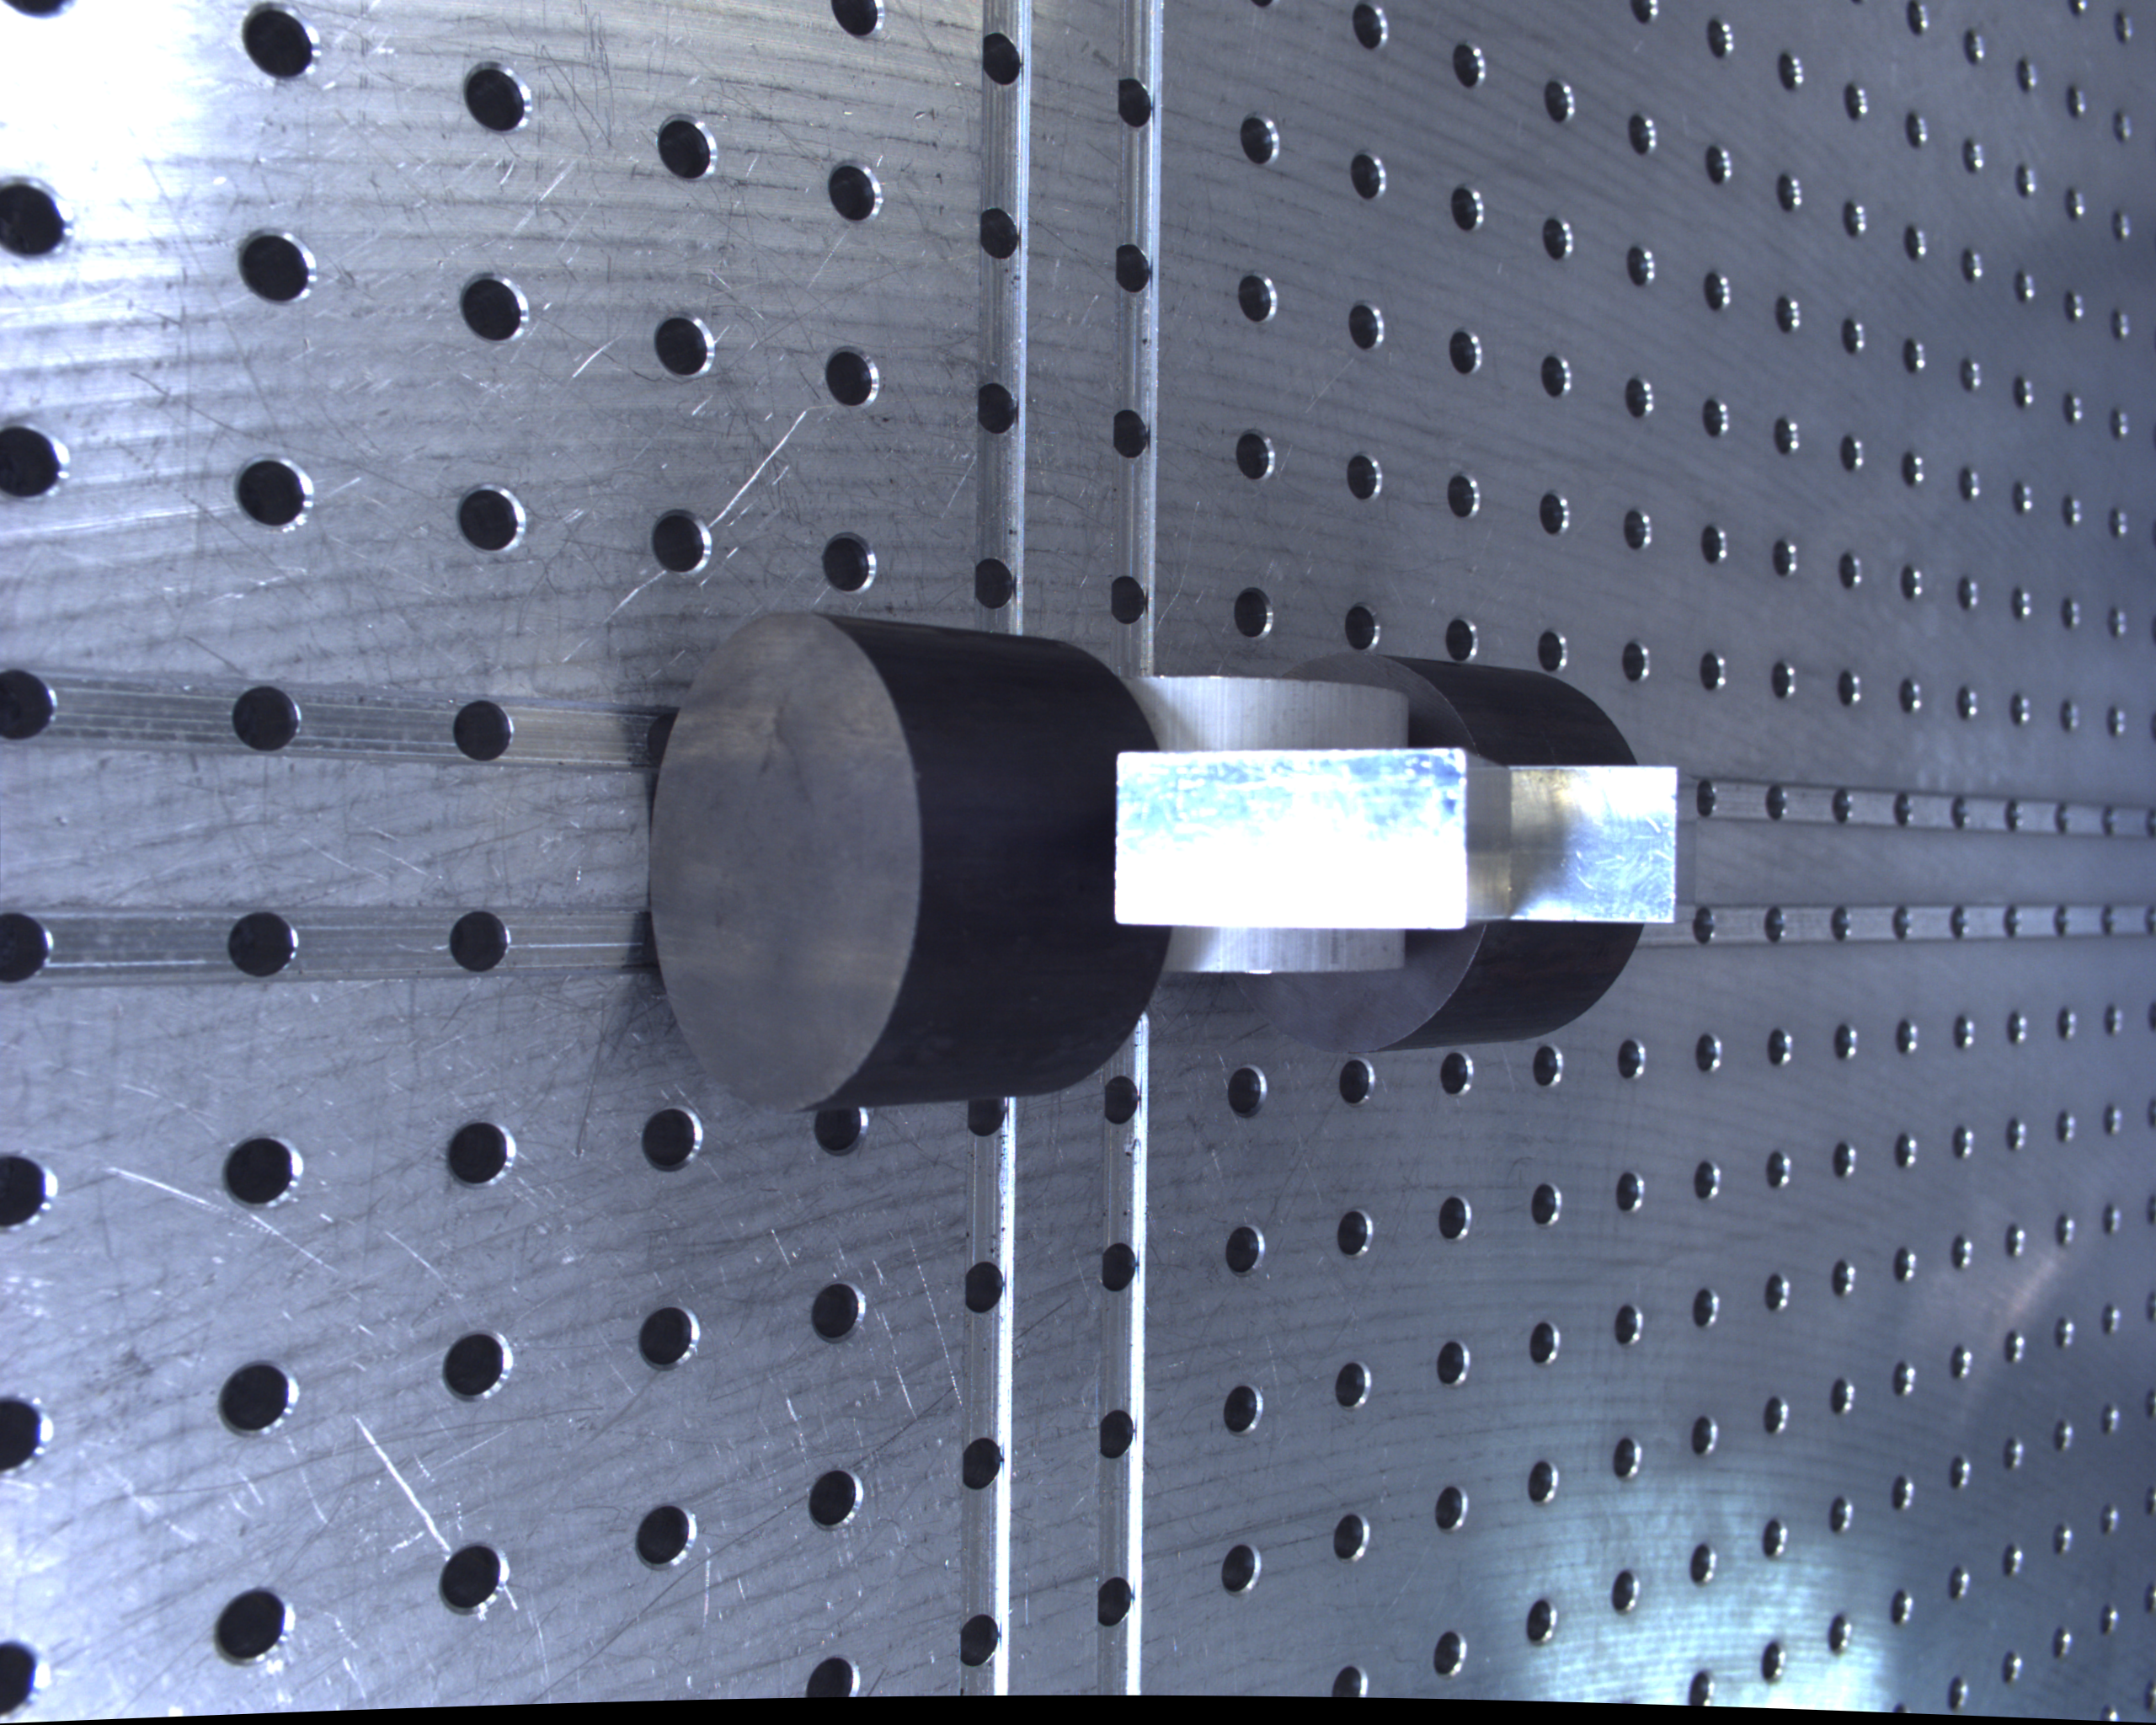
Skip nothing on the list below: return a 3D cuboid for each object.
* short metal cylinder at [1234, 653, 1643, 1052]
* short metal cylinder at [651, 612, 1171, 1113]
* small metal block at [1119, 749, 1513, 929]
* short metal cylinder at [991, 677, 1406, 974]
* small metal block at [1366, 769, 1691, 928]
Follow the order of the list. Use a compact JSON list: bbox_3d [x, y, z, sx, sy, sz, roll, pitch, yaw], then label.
[{"bbox_3d":[0.071,-0.002,0.432,0.050,0.080,0.080,1,90,-39],"label":"short metal cylinder"},{"bbox_3d":[-0.029,0.000,0.348,0.050,0.080,0.080,1,89,-40],"label":"short metal cylinder"},{"bbox_3d":[0.038,-0.003,0.319,0.050,0.050,0.025,1,90,-72],"label":"small metal block"},{"bbox_3d":[0.021,-0.006,0.391,0.081,0.080,0.050,1,89,-40],"label":"short metal cylinder"},{"bbox_3d":[0.078,-0.002,0.359,0.050,0.050,0.025,1,90,-71],"label":"small metal block"}]
